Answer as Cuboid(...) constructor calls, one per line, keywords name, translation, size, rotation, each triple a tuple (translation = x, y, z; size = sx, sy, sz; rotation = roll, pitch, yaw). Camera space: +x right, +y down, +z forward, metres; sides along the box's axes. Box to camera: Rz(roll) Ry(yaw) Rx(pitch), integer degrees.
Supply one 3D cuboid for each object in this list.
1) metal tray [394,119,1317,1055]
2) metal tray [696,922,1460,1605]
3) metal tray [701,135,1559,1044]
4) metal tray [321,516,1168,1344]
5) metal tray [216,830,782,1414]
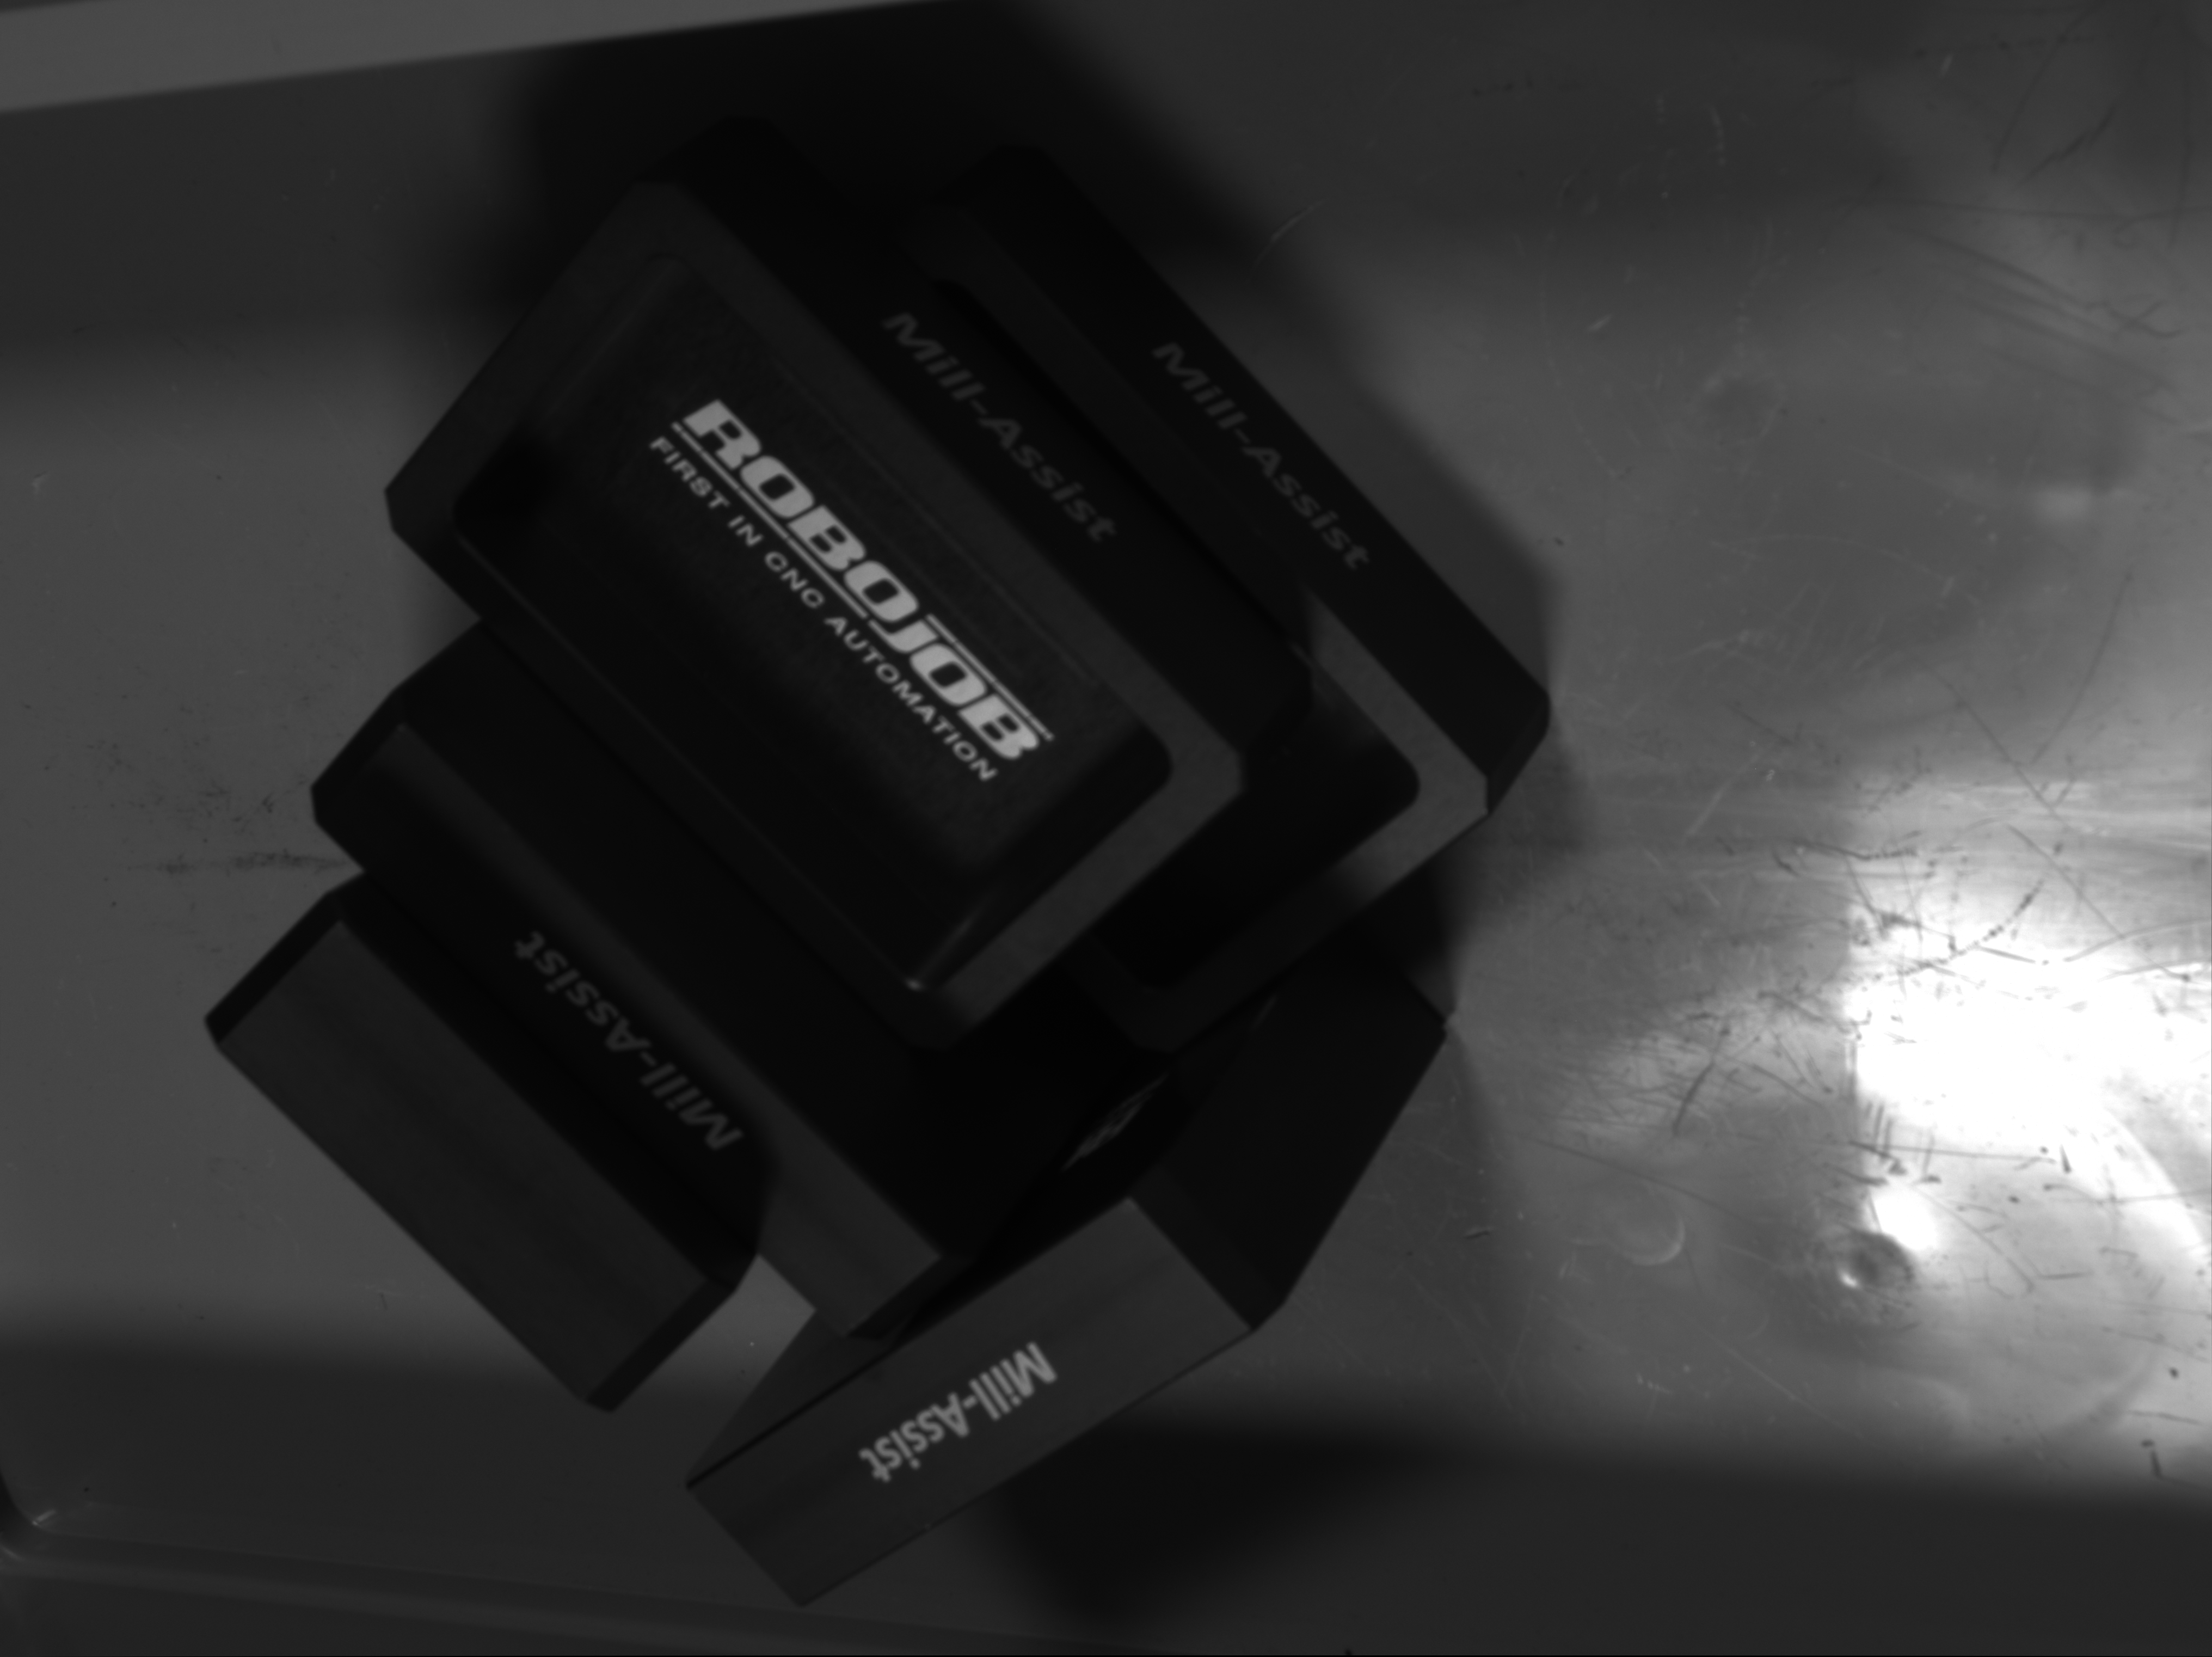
Cuboid(name="metal tray", translation=(-0.041, -0.036, 0.587), size=(0.130, 0.030, 0.090), rotation=(46, 128, -4))
Cuboid(name="metal tray", translation=(-0.006, 0.075, 0.636), size=(0.030, 0.090, 0.130), rotation=(48, 128, -6))
Cuboid(name="metal tray", translation=(0.000, -0.037, 0.606), size=(0.130, 0.030, 0.090), rotation=(48, 129, -5))
Cuboid(name="metal tray", translation=(-0.058, 0.013, 0.624), size=(0.130, 0.090, 0.030), rotation=(45, 128, -4))
Cuboid(name="metal tray", translation=(-0.096, 0.044, 0.639), size=(0.090, 0.130, 0.030), rotation=(45, 98, -4))
